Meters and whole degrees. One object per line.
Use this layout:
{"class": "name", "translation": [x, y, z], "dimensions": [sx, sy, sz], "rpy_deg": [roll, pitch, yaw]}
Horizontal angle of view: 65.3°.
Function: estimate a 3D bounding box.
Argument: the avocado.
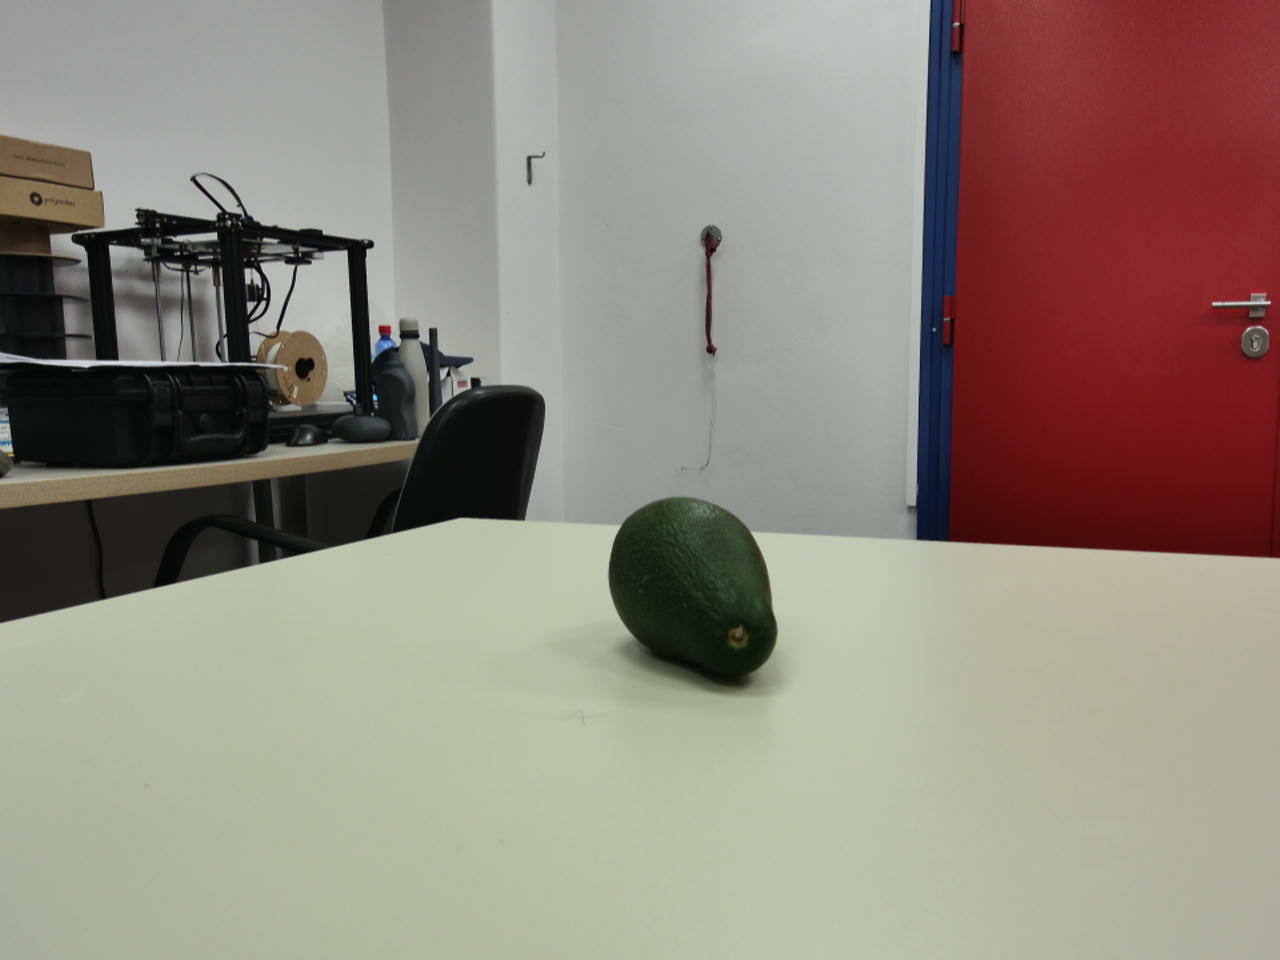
{"class": "avocado", "translation": [0.021, 0.045, 0.440], "dimensions": [0.072, 0.071, 0.109], "rpy_deg": [1, 3, 2]}
